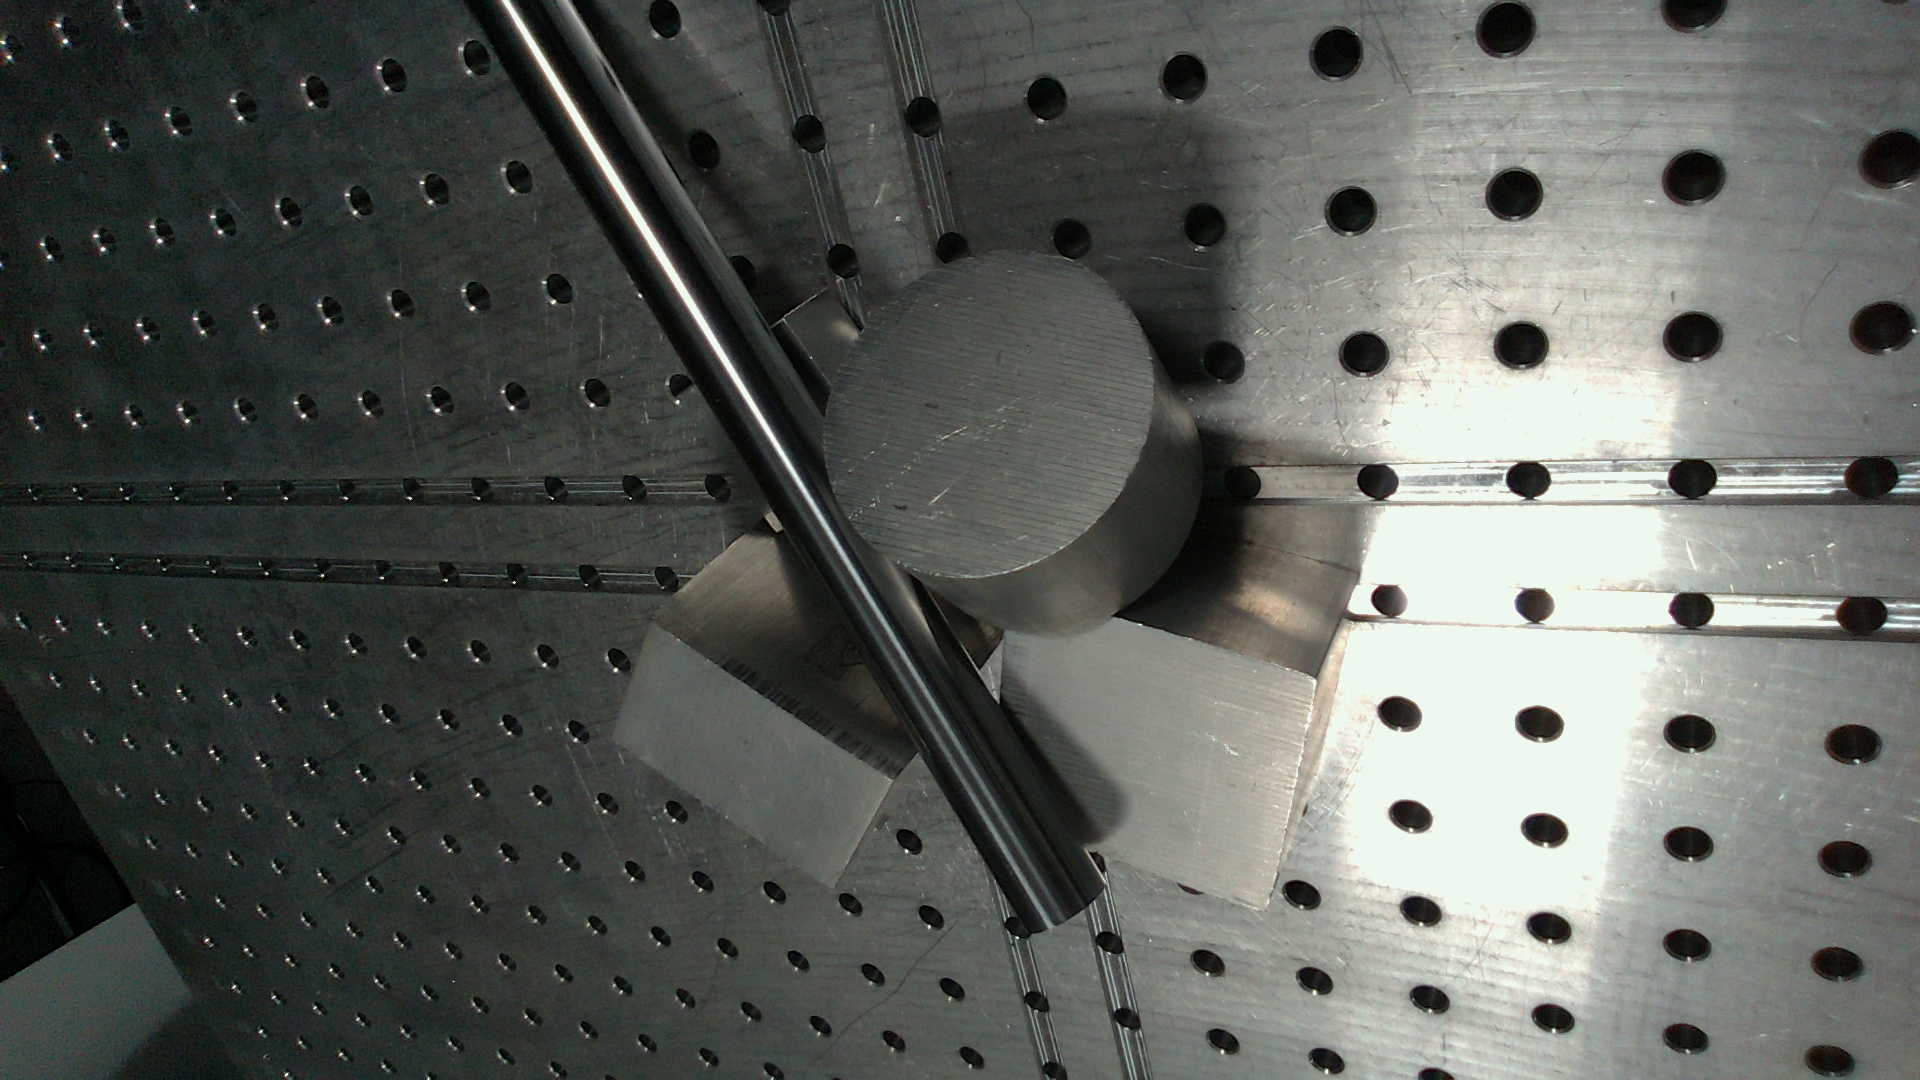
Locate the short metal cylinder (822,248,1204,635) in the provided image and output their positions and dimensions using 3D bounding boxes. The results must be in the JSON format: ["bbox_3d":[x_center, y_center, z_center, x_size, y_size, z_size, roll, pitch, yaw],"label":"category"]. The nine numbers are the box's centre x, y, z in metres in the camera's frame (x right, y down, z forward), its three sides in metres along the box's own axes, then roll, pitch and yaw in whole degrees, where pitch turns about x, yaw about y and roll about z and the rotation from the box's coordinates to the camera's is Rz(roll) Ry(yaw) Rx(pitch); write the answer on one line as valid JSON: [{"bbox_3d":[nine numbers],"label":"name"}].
[{"bbox_3d":[0.014,-0.022,0.330,0.080,0.080,0.050,8,166,24],"label":"short metal cylinder"}]

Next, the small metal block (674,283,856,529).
[{"bbox_3d":[-0.046,-0.037,0.398,0.050,0.025,0.050,-27,104,37],"label":"small metal block"}]

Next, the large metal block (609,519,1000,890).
[{"bbox_3d":[-0.042,0.041,0.408,0.080,0.080,0.050,32,129,7],"label":"large metal block"}]

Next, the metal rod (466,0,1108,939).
[{"bbox_3d":[-0.049,-0.031,0.364,0.025,0.025,0.300,-31,90,38],"label":"metal rod"}]

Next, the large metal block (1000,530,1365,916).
[{"bbox_3d":[0.057,0.044,0.375,0.080,0.050,0.080,16,125,19],"label":"large metal block"}]
